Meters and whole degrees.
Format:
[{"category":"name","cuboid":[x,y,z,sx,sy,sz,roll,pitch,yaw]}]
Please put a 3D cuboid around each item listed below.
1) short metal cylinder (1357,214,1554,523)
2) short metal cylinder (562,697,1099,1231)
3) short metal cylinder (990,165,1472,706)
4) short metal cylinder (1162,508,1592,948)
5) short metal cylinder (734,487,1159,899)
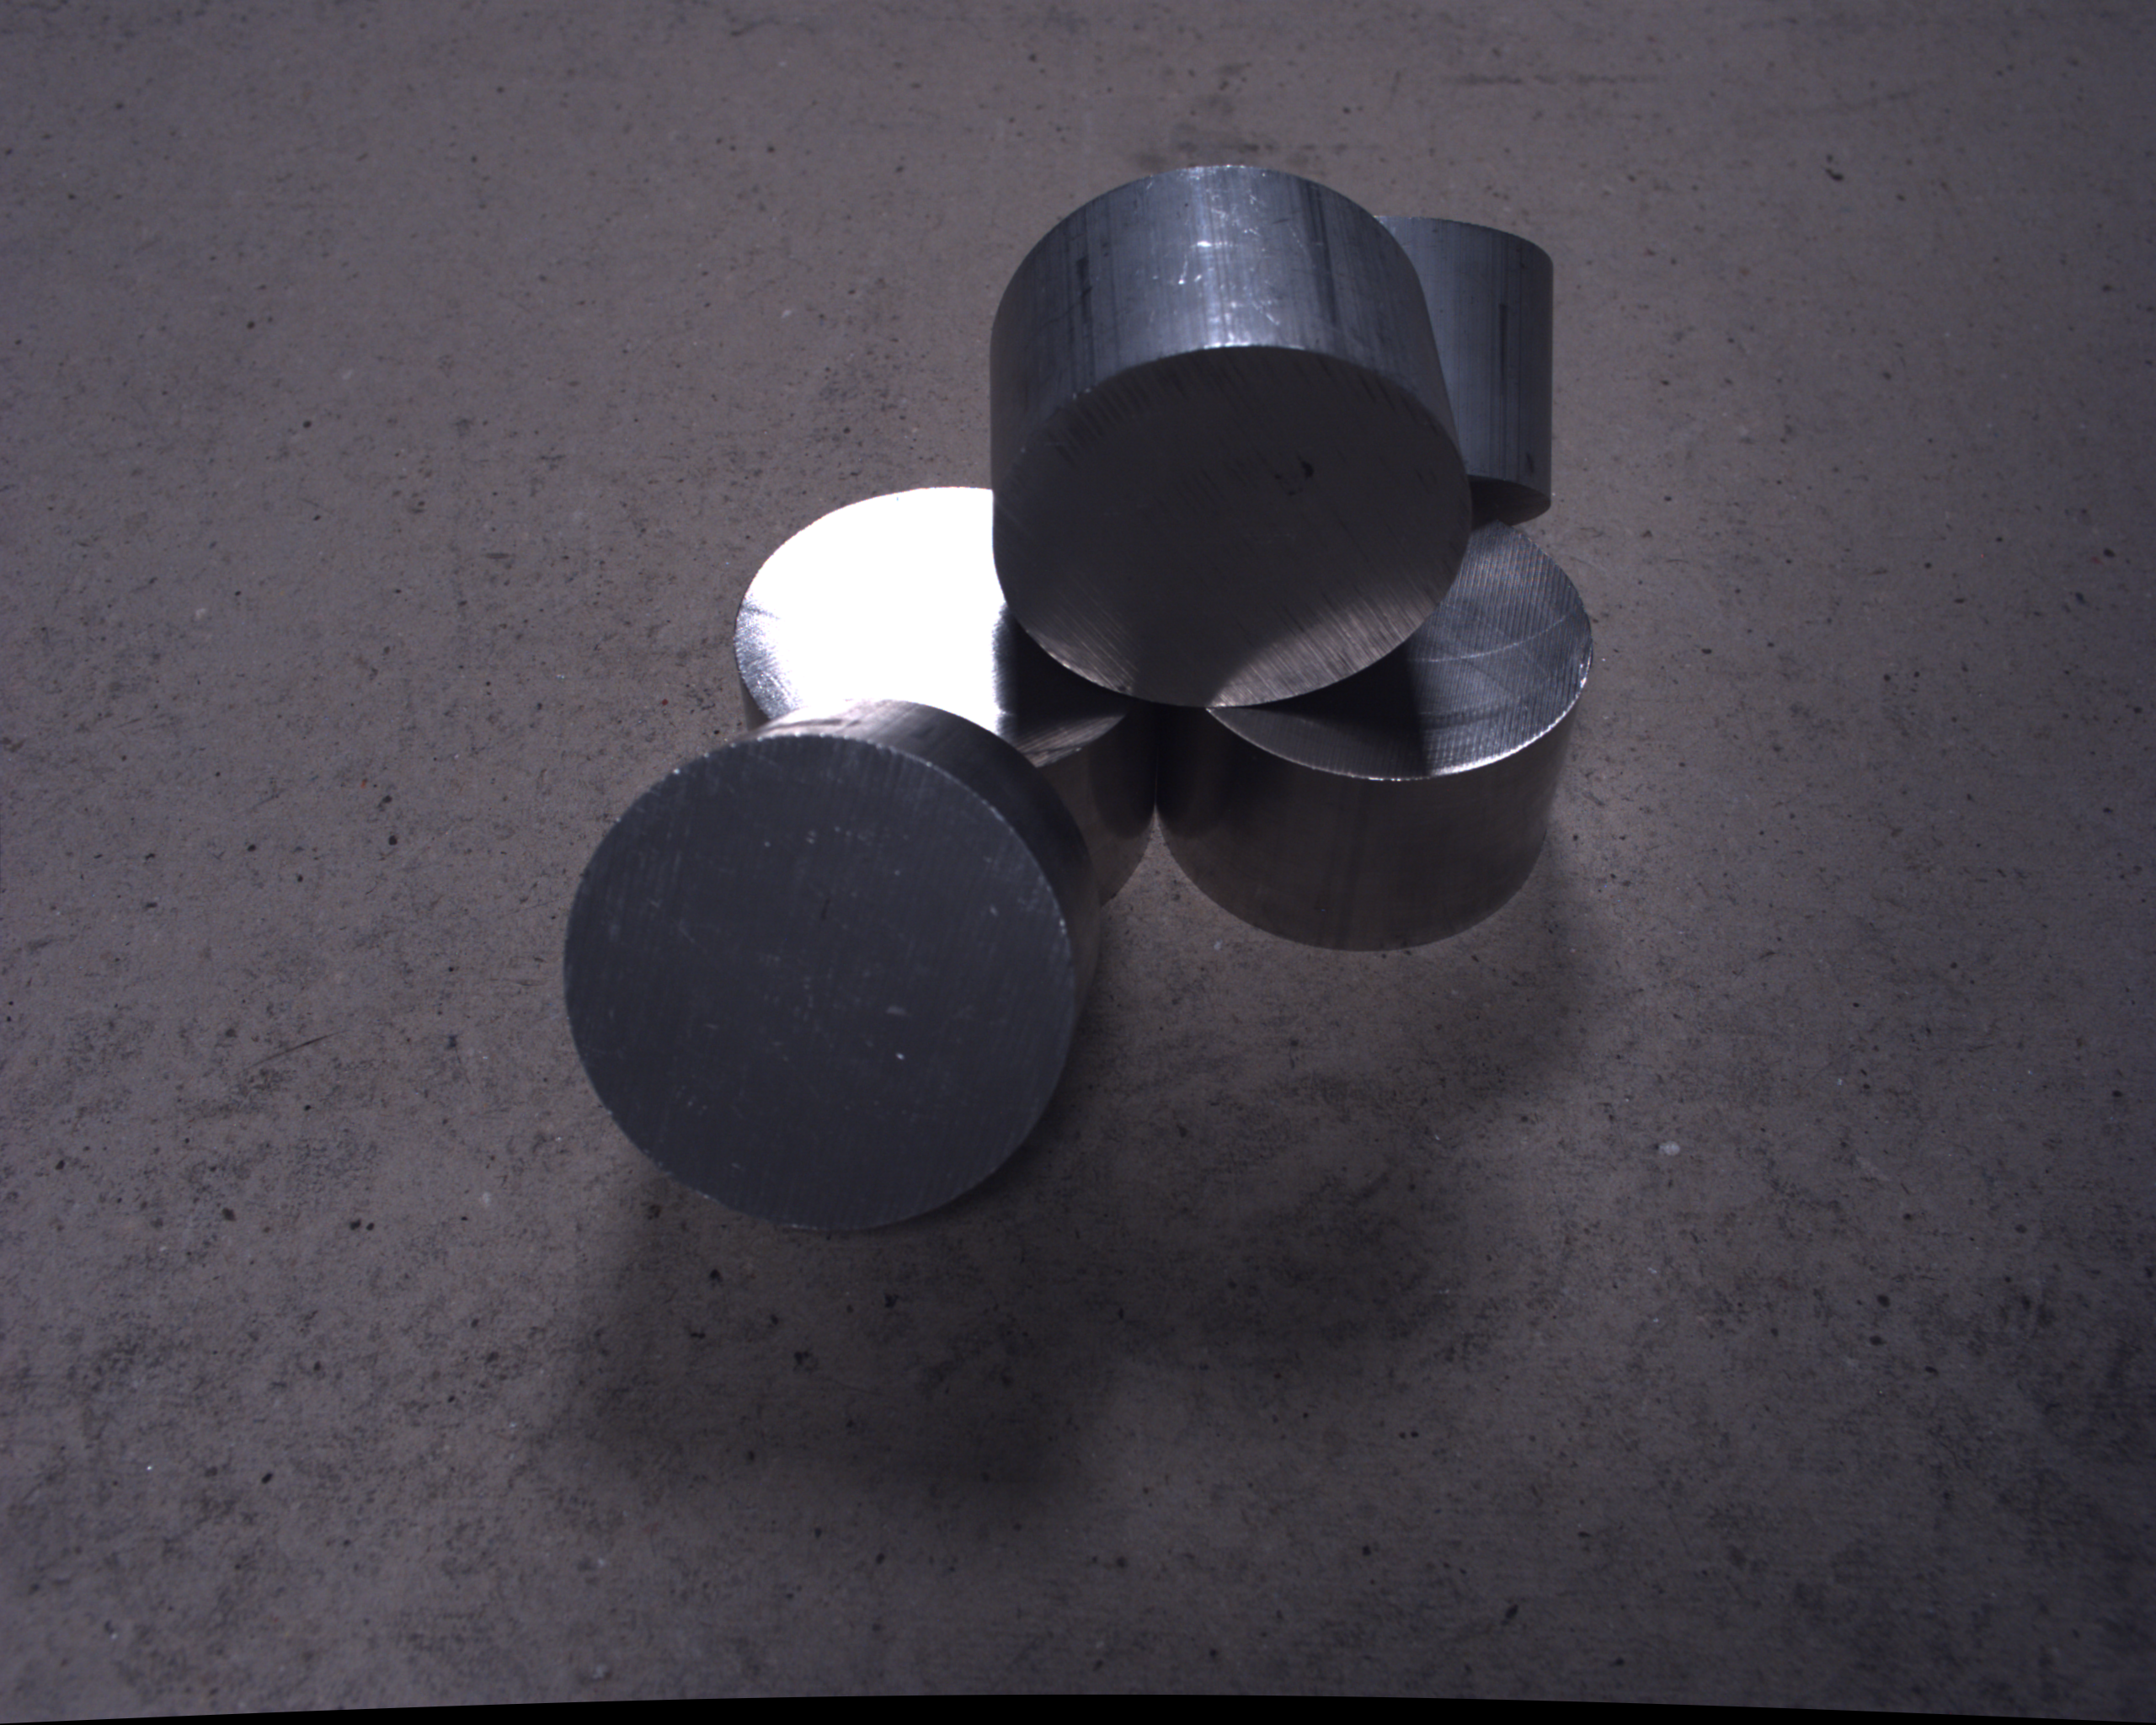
[{"category":"short metal cylinder","cuboid":[0.060,-0.100,0.445,0.081,0.080,0.050,0,88,0]},{"category":"short metal cylinder","cuboid":[-0.038,0.015,0.347,0.080,0.079,0.050,6,11,4]},{"category":"short metal cylinder","cuboid":[0.025,-0.073,0.366,0.081,0.080,0.050,-1,50,-1]},{"category":"short metal cylinder","cuboid":[0.057,-0.030,0.413,0.081,0.050,0.080,0,50,0]},{"category":"short metal cylinder","cuboid":[-0.024,-0.029,0.412,0.081,0.050,0.080,0,50,0]}]
